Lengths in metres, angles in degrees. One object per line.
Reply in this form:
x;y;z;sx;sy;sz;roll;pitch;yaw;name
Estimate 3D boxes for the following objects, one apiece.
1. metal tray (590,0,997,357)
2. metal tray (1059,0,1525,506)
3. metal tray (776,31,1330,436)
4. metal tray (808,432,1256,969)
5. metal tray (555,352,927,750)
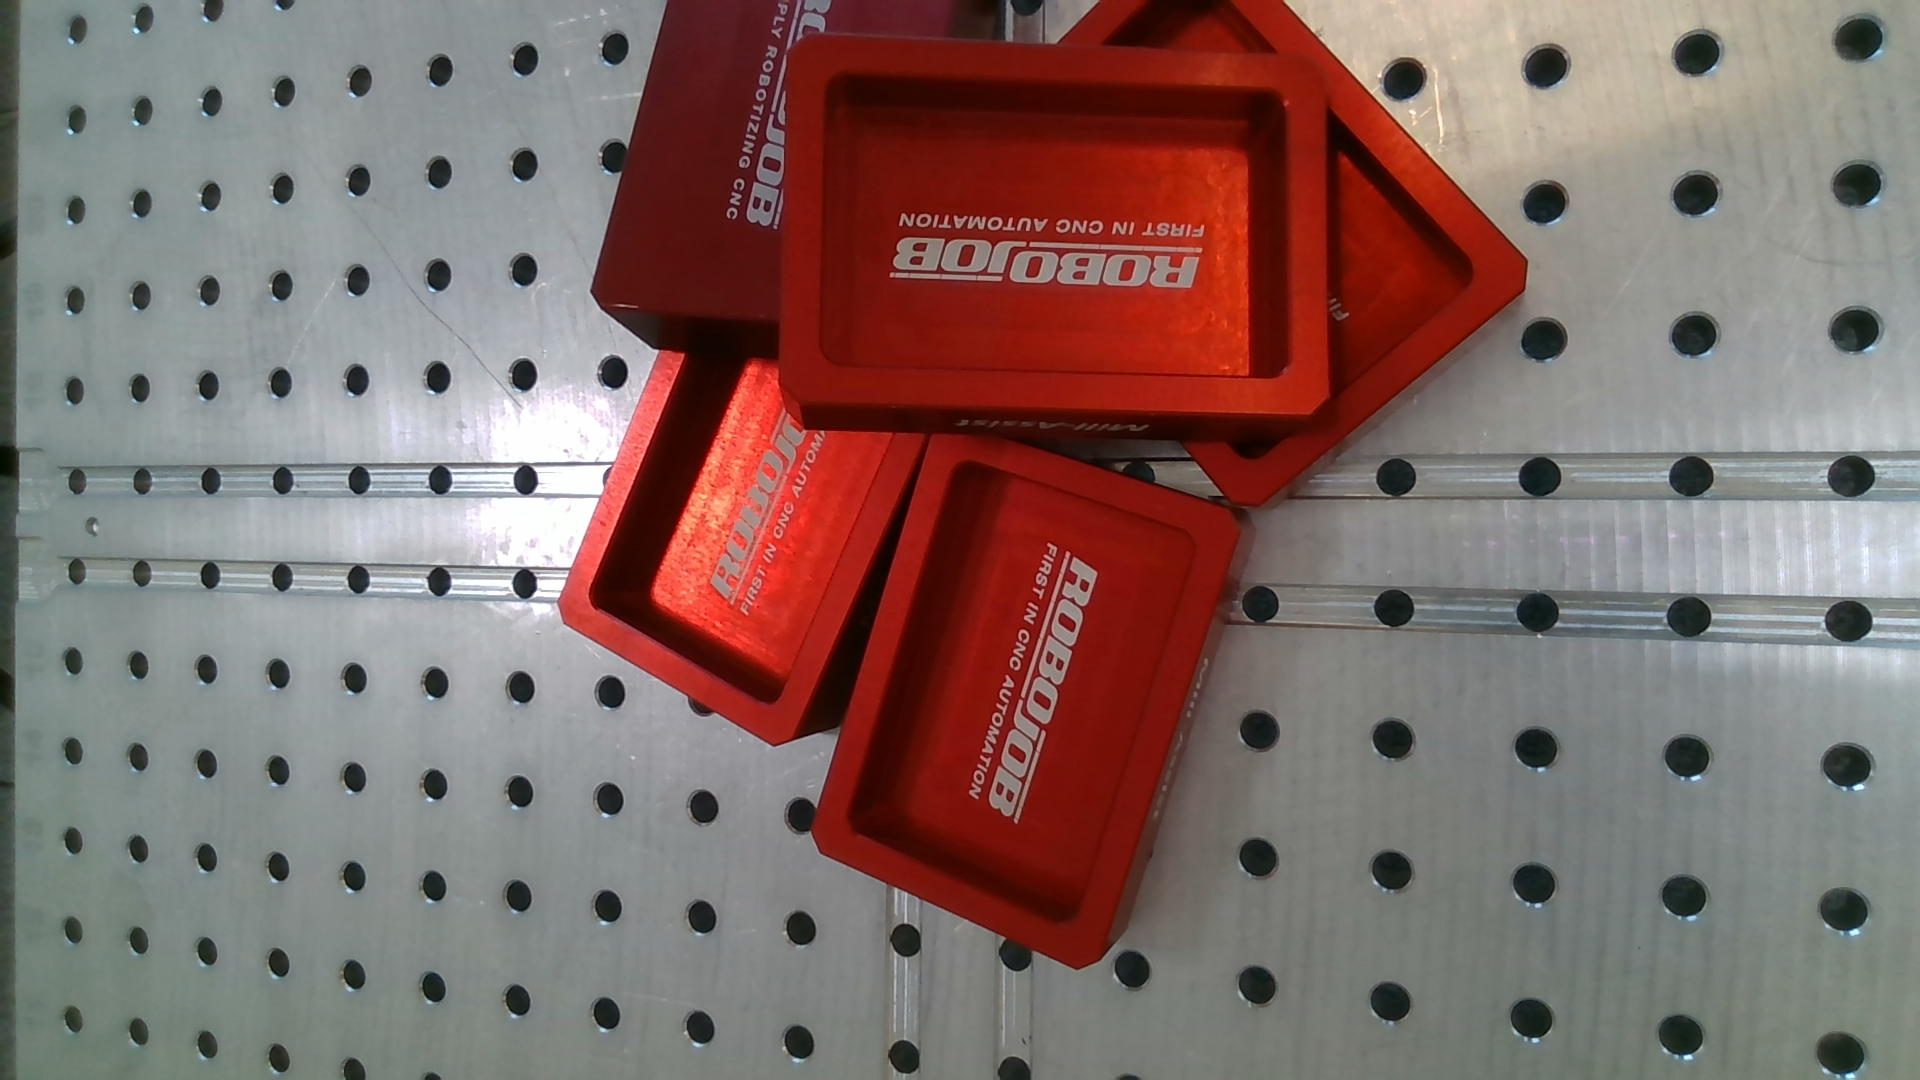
-0.045;-0.118;0.391;0.090;0.030;0.130;7;79;21;metal tray
0.071;-0.084;0.366;0.090;0.030;0.130;-41;77;15;metal tray
0.022;-0.073;0.339;0.130;0.030;0.090;1;83;-4;metal tray
0.019;0.040;0.386;0.090;0.030;0.130;19;97;20;metal tray
-0.058;-0.015;0.414;0.090;0.030;0.130;27;99;19;metal tray
